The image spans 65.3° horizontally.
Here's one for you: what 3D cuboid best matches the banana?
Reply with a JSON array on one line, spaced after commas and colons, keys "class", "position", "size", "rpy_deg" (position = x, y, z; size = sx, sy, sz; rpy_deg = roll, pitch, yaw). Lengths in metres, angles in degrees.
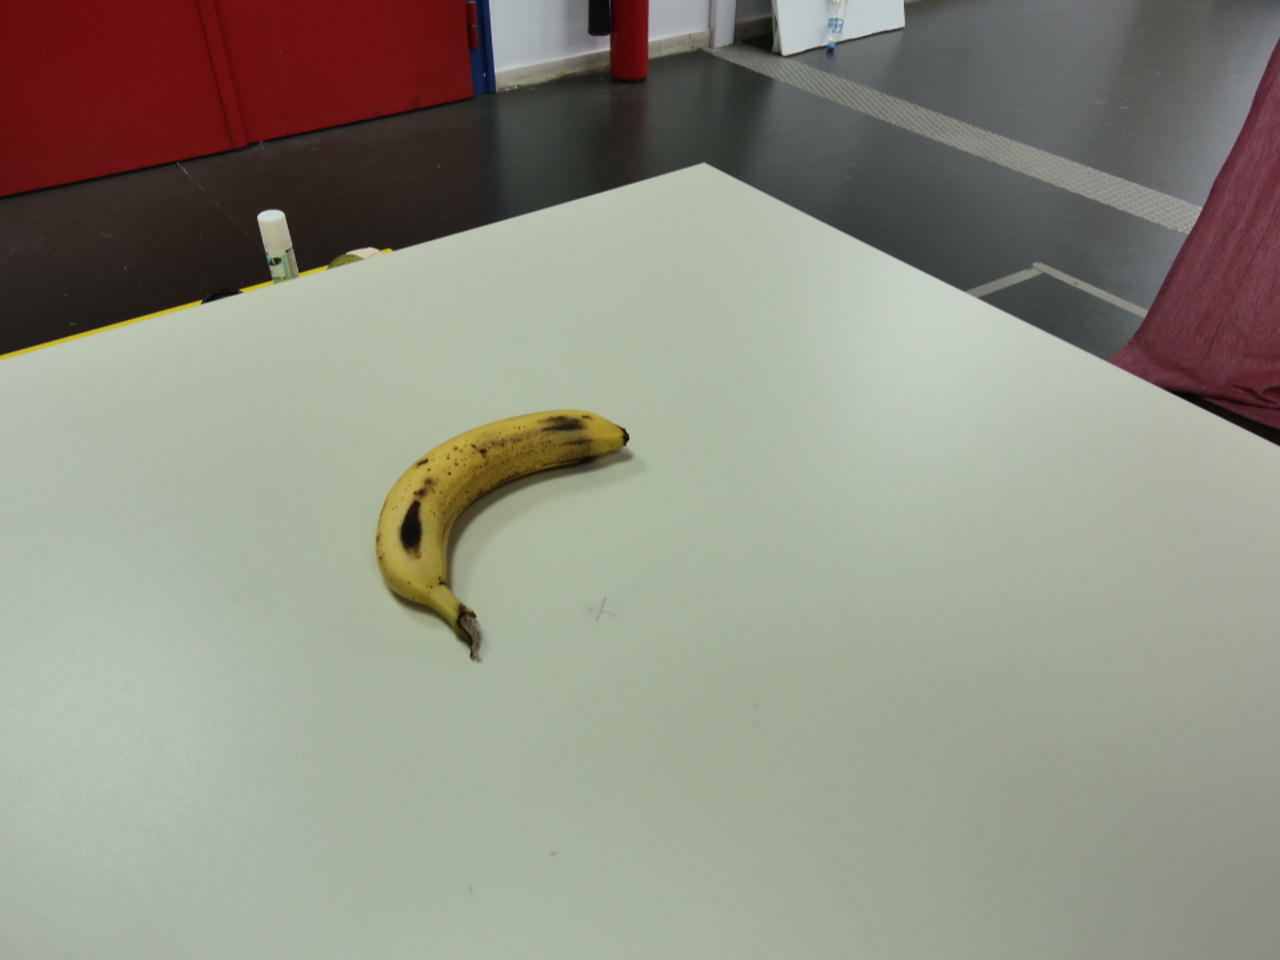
[{"class": "banana", "position": [-0.086, 0.009, 0.578], "size": [0.097, 0.038, 0.186], "rpy_deg": [16, 41, 19]}]
